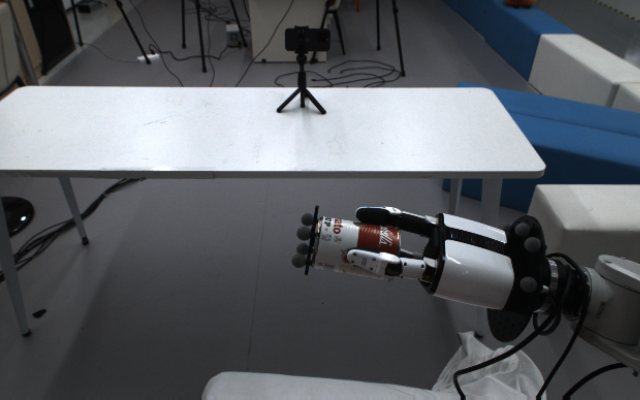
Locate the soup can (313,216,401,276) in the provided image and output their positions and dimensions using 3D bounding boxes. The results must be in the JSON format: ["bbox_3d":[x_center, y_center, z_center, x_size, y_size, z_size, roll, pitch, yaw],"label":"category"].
[{"bbox_3d":[0.047,0.060,0.607,0.101,0.067,0.067,9,35,1],"label":"soup can"}]
